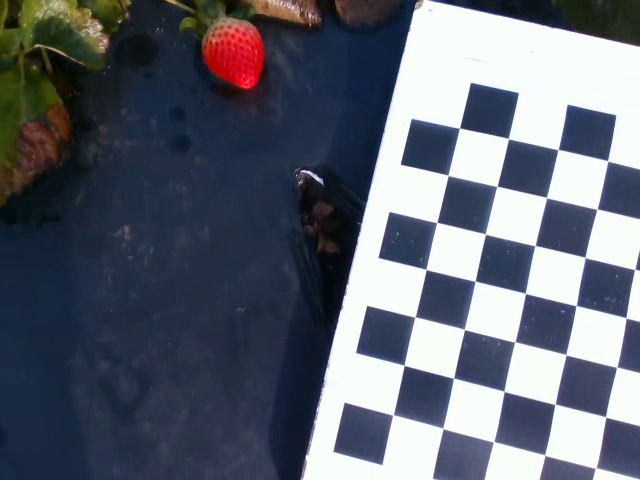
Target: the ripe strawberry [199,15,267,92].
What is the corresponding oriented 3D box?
[{"bbox_3d":[-0.043,-0.093,0.310,0.035,0.043,0.030,-23,-10,-2],"label":"ripe strawberry"}]
